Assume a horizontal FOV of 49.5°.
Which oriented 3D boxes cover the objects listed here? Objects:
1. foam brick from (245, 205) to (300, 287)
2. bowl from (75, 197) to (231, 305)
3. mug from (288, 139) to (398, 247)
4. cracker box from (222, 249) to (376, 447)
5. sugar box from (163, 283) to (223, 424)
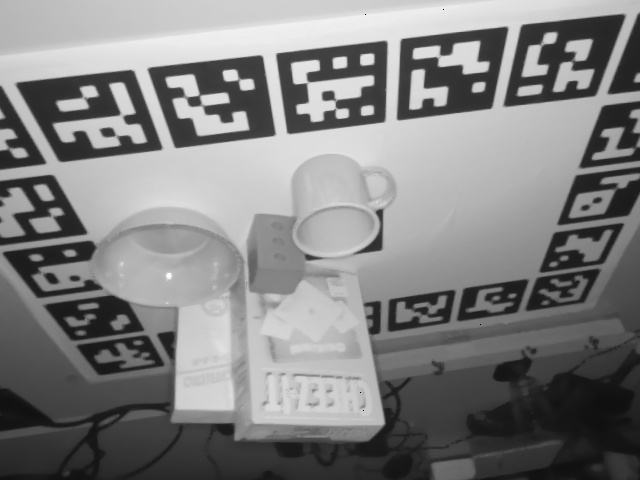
[{"bbox_3d":[-0.056,0.007,0.791,0.053,0.078,0.050,3,140,-15],"label":"foam brick"},{"bbox_3d":[-0.179,0.004,0.756,0.162,0.055,0.160,-6,140,-4],"label":"bowl"},{"bbox_3d":[0.023,-0.053,0.720,0.117,0.082,0.093,-14,149,2],"label":"mug"},{"bbox_3d":[-0.028,0.124,0.824,0.166,0.215,0.071,14,137,-25],"label":"cracker box"},{"bbox_3d":[-0.140,0.131,0.838,0.094,0.177,0.044,8,138,-20],"label":"sugar box"}]
